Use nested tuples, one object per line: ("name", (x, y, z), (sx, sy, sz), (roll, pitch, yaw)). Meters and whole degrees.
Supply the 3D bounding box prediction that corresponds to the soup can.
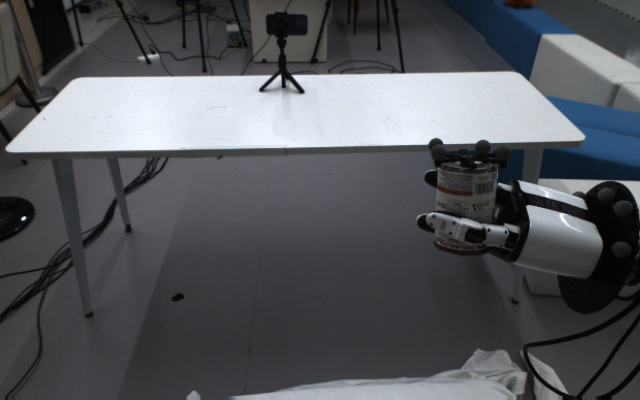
("soup can", (0.172, 0.006, 0.565), (0.067, 0.101, 0.067), (-1, 17, 0))
